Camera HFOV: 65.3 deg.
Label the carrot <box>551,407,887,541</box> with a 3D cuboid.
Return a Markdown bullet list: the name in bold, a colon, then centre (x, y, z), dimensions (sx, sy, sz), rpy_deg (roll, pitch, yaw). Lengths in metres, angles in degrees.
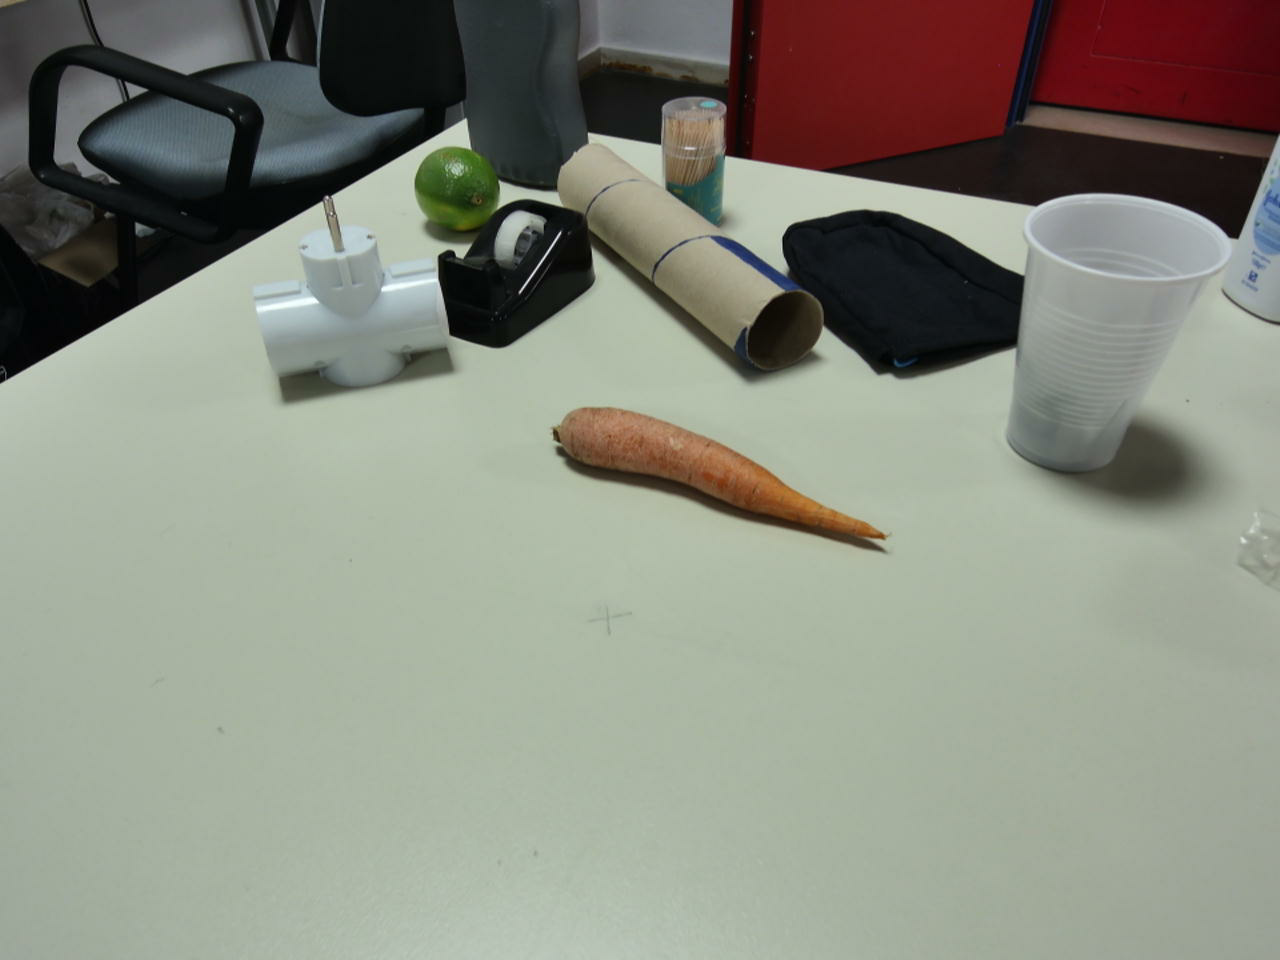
- **carrot**: centre (0.033, -0.005, 0.447), dimensions (0.163, 0.029, 0.031), rpy_deg (17, 41, 21)
